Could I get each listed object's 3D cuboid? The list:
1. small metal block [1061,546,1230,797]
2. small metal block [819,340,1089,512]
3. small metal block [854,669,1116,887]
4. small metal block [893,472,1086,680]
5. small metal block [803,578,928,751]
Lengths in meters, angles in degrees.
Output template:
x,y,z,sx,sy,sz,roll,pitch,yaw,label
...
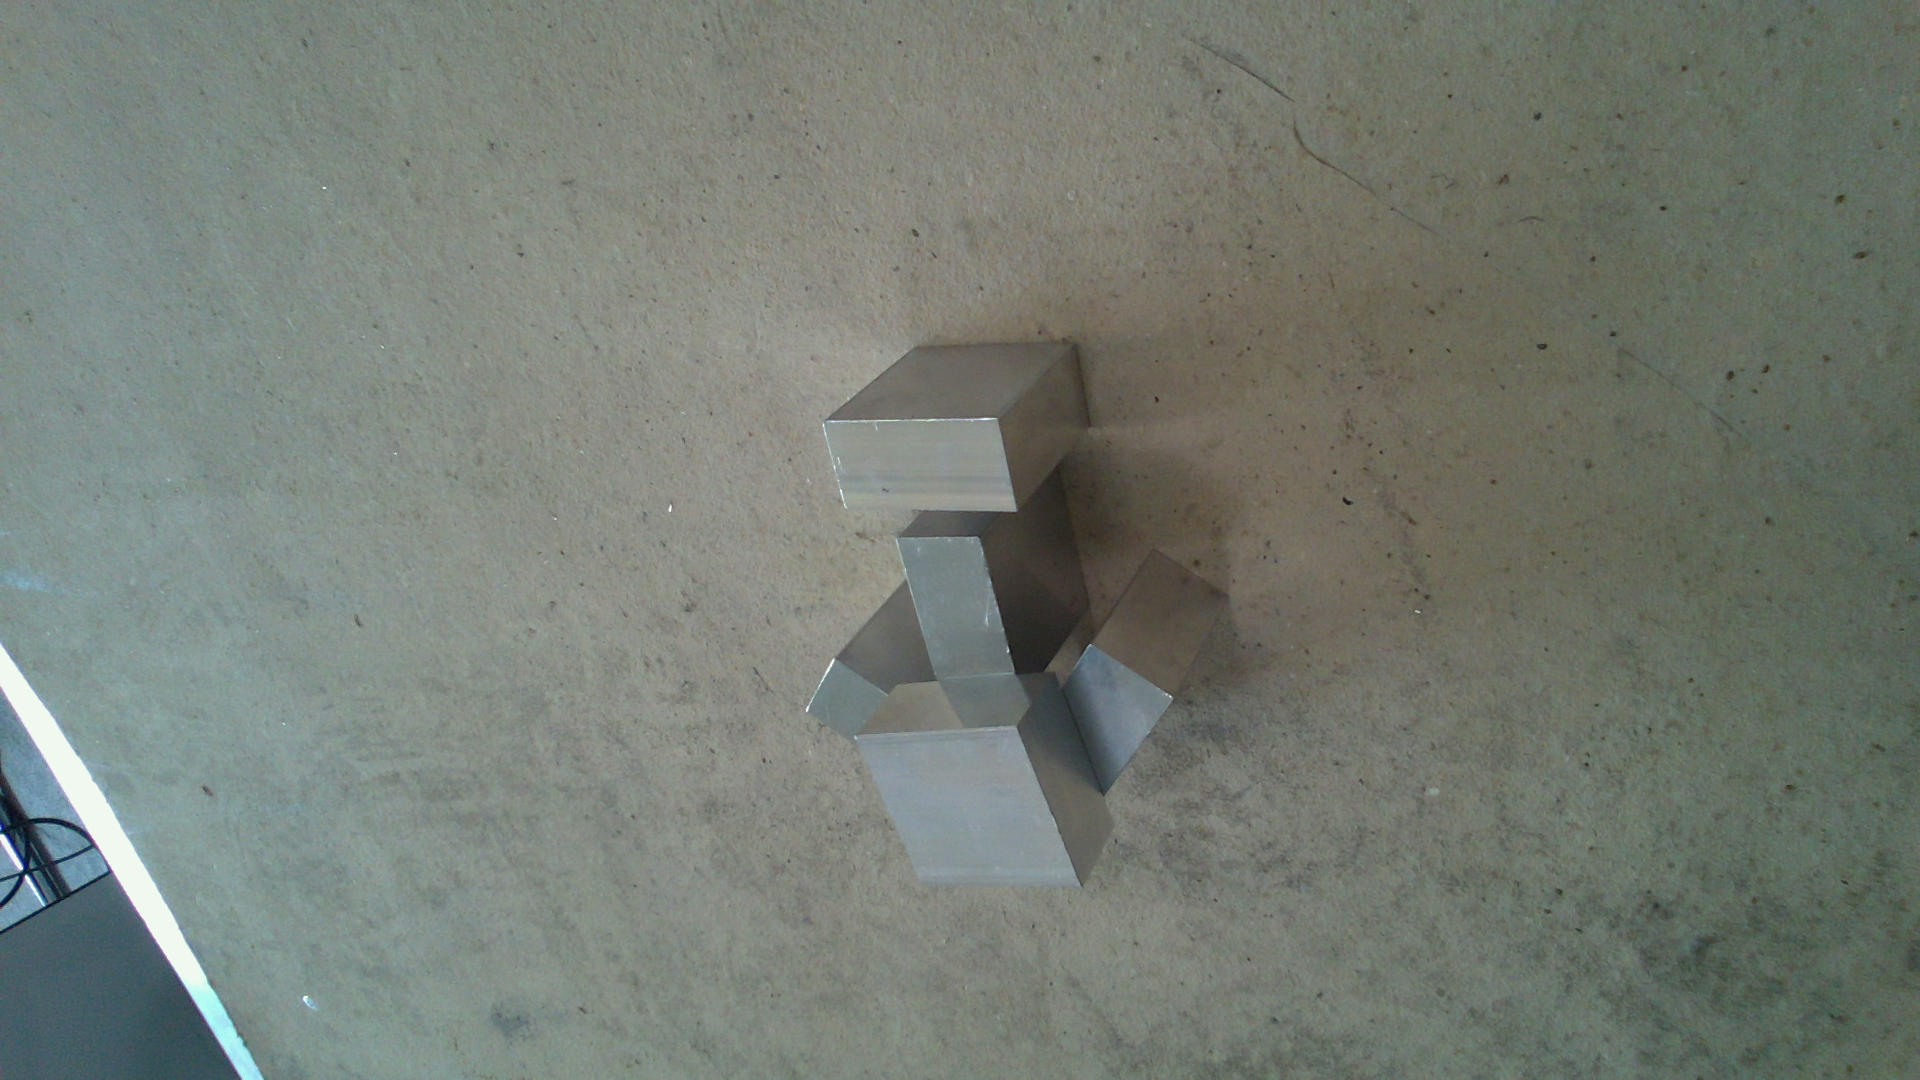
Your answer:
x,y,z,sx,sy,sz,roll,pitch,yaw,label
0.045,0.038,0.377,0.025,0.050,0.050,32,129,7,small metal block
0.000,-0.030,0.358,0.050,0.050,0.025,2,119,27,small metal block
0.007,0.064,0.365,0.050,0.025,0.050,-8,114,32,small metal block
0.010,0.009,0.378,0.025,0.050,0.050,-1,117,28,small metal block
-0.010,0.044,0.409,0.050,0.050,0.025,34,128,5,small metal block
